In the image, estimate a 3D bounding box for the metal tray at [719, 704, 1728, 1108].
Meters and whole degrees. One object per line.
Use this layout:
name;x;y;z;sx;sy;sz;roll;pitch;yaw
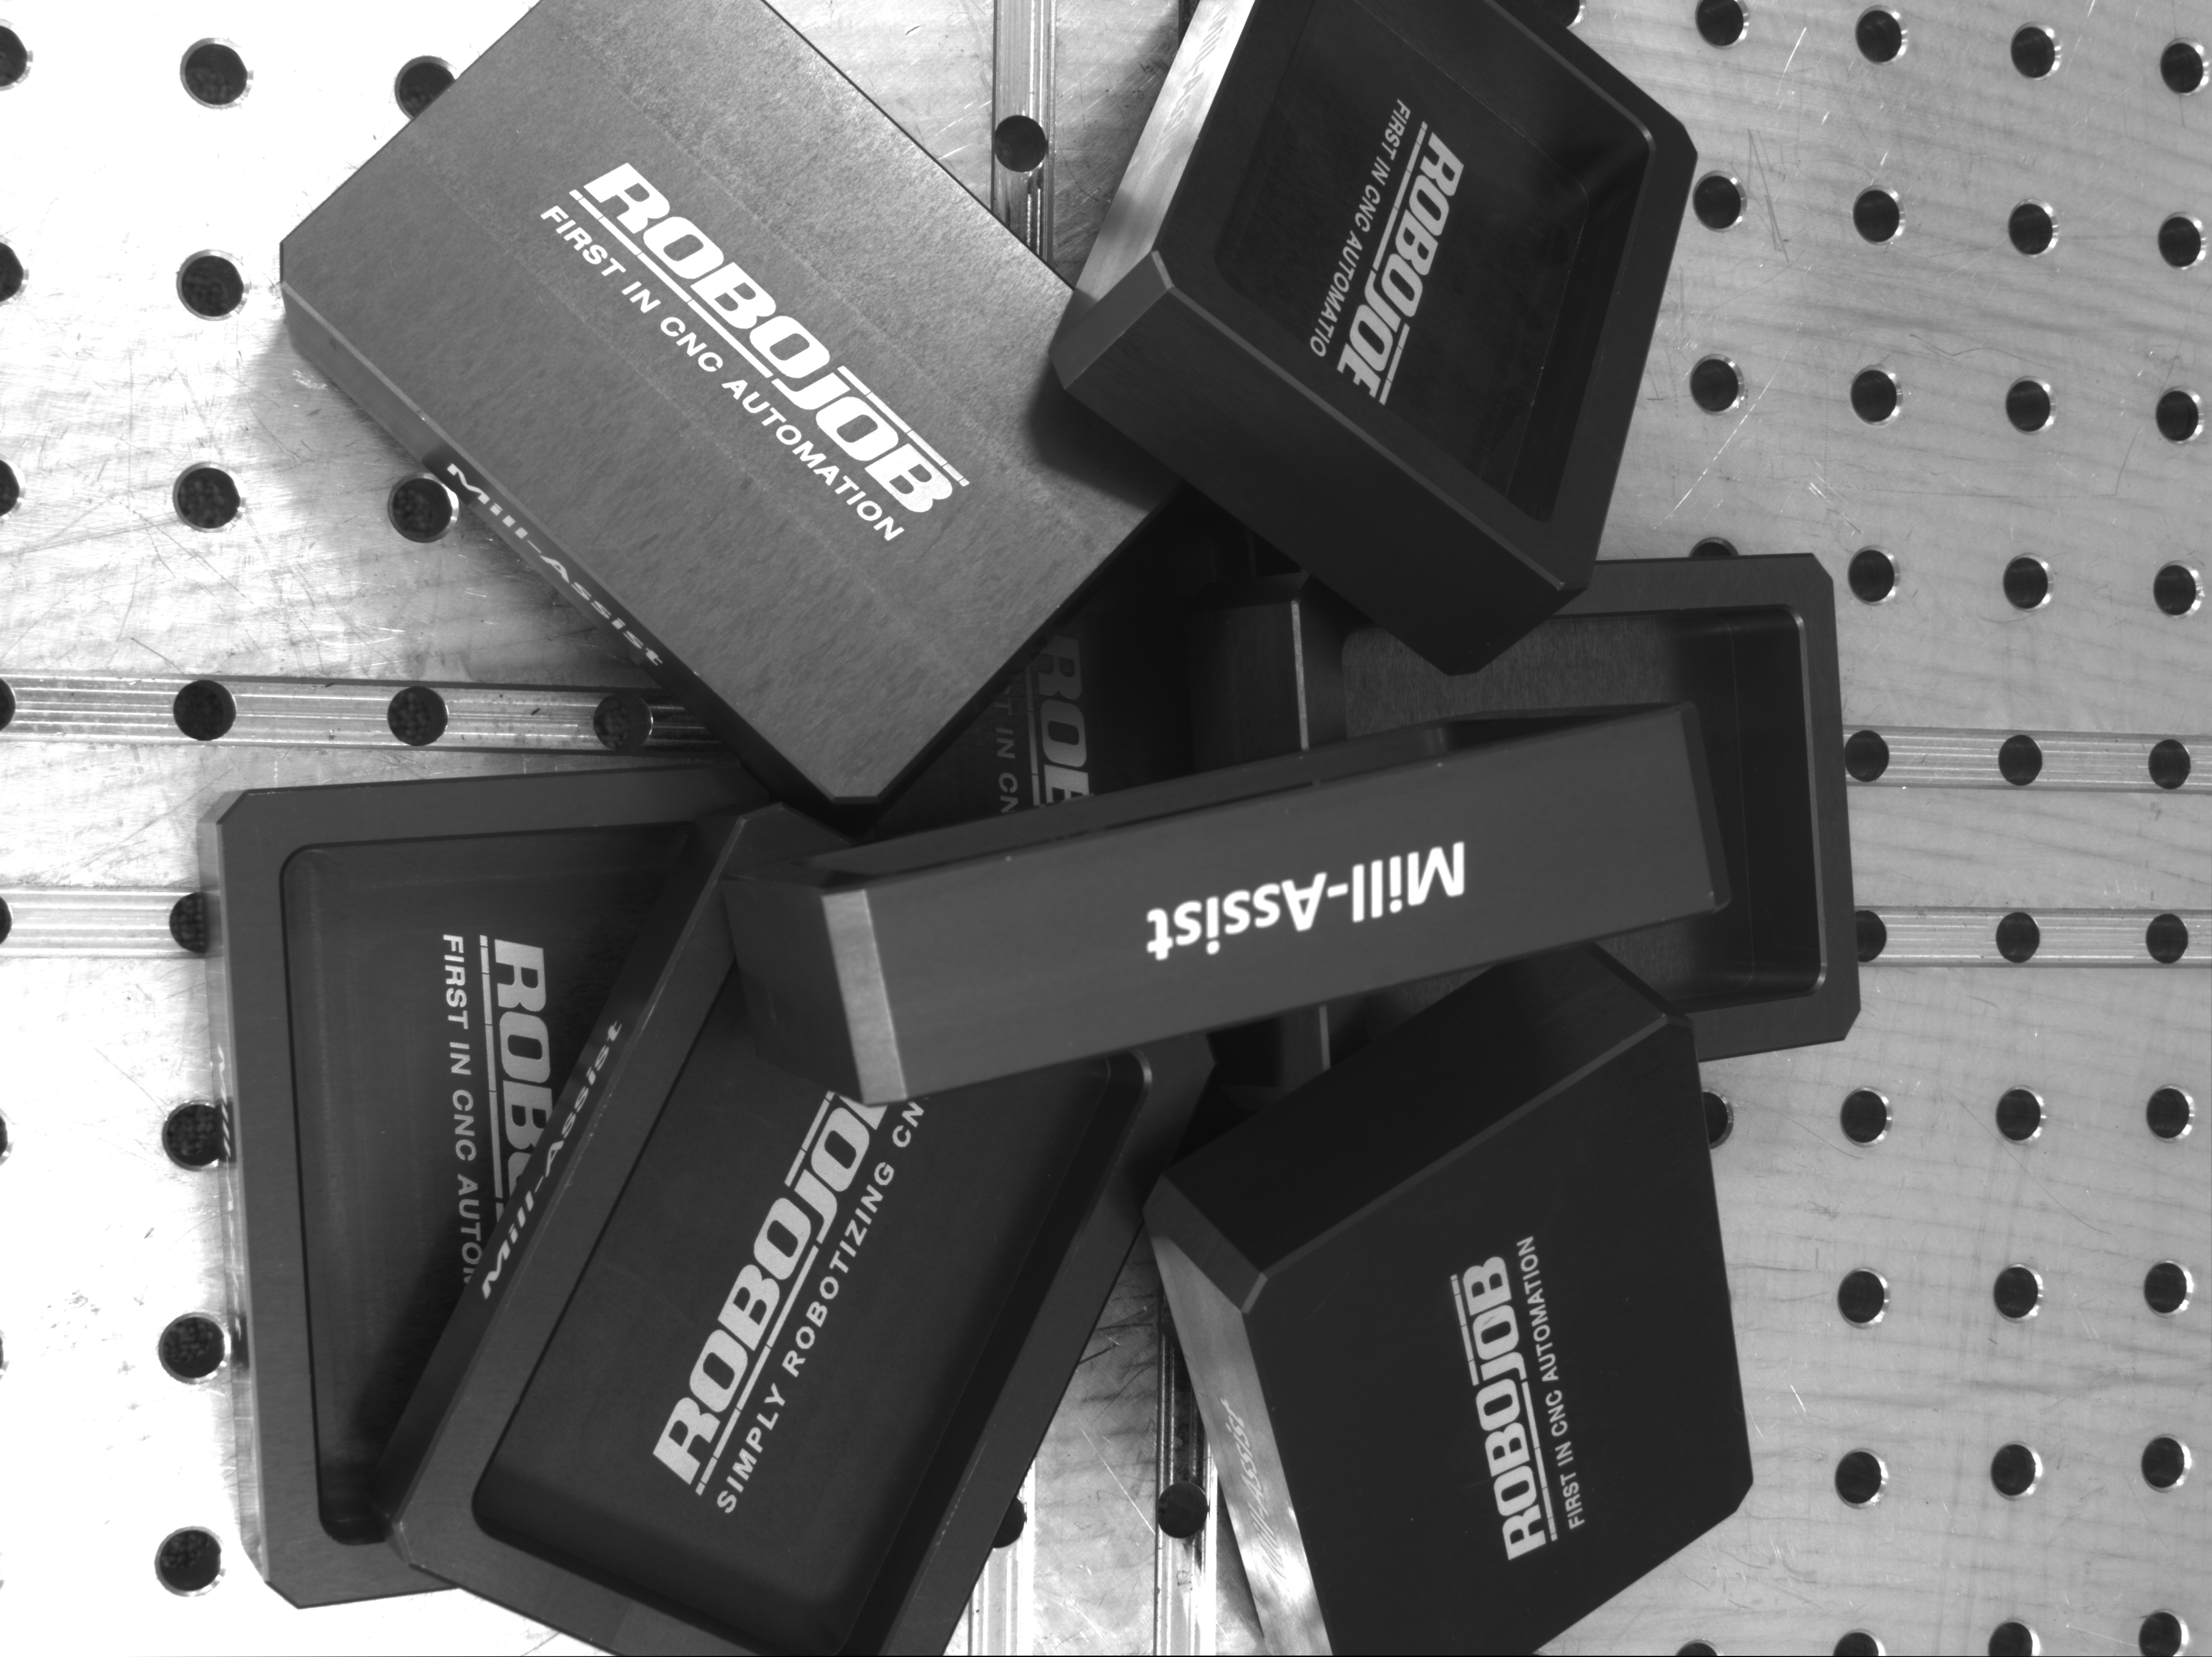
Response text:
metal tray;0.015;0.009;0.548;0.130;0.090;0.030;-12;94;-15

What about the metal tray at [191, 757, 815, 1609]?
metal tray;-0.100;0.056;0.607;0.090;0.030;0.130;-4;91;-20

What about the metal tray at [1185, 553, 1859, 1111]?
metal tray;0.076;-0.001;0.651;0.130;0.030;0.090;-5;92;-37

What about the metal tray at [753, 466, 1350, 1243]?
metal tray;-0.009;0.003;0.640;0.090;0.030;0.130;-5;89;-22

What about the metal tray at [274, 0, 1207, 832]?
metal tray;-0.060;-0.075;0.604;0.130;0.030;0.090;43;76;1

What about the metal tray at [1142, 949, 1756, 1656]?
metal tray;0.062;0.090;0.630;0.090;0.030;0.130;-30;133;-17

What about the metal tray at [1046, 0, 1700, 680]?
metal tray;0.049;-0.098;0.625;0.090;0.030;0.130;35;46;-16

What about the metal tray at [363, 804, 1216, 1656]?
metal tray;-0.050;0.072;0.593;0.090;0.030;0.130;28;81;-17
